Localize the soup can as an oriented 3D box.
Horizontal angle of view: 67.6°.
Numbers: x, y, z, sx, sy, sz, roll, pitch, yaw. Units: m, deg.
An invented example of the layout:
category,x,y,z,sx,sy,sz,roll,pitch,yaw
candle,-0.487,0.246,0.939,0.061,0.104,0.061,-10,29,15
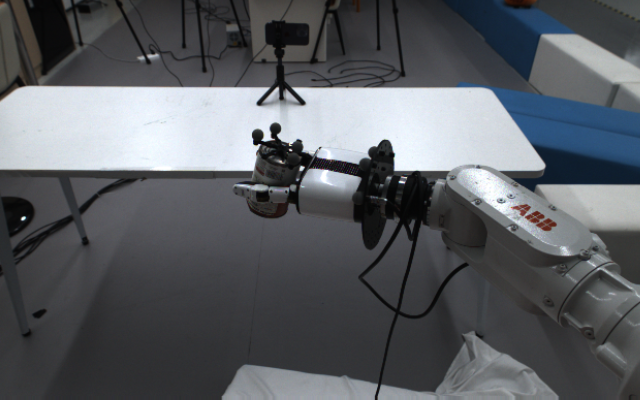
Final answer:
category,x,y,z,sx,sy,sz,roll,pitch,yaw
soup can,-0.071,-0.030,0.741,0.067,0.101,0.067,13,35,-9
